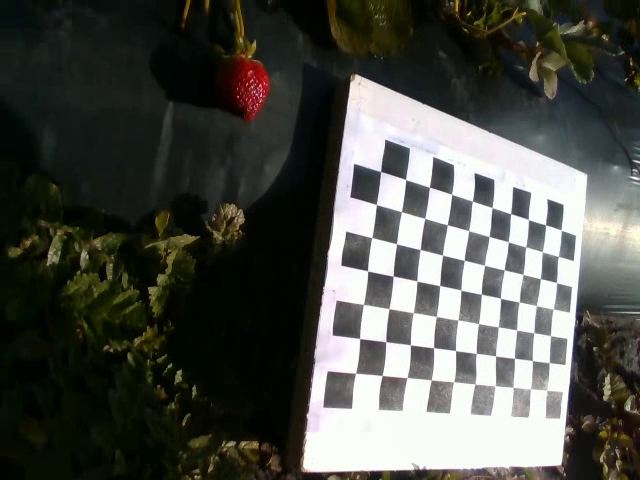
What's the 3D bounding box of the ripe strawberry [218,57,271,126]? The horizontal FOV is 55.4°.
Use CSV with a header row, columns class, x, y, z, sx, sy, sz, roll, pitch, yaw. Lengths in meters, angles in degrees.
class,x,y,z,sx,sy,sz,roll,pitch,yaw
ripe strawberry,-0.045,-0.087,0.366,0.040,0.044,0.036,-10,-9,-33
